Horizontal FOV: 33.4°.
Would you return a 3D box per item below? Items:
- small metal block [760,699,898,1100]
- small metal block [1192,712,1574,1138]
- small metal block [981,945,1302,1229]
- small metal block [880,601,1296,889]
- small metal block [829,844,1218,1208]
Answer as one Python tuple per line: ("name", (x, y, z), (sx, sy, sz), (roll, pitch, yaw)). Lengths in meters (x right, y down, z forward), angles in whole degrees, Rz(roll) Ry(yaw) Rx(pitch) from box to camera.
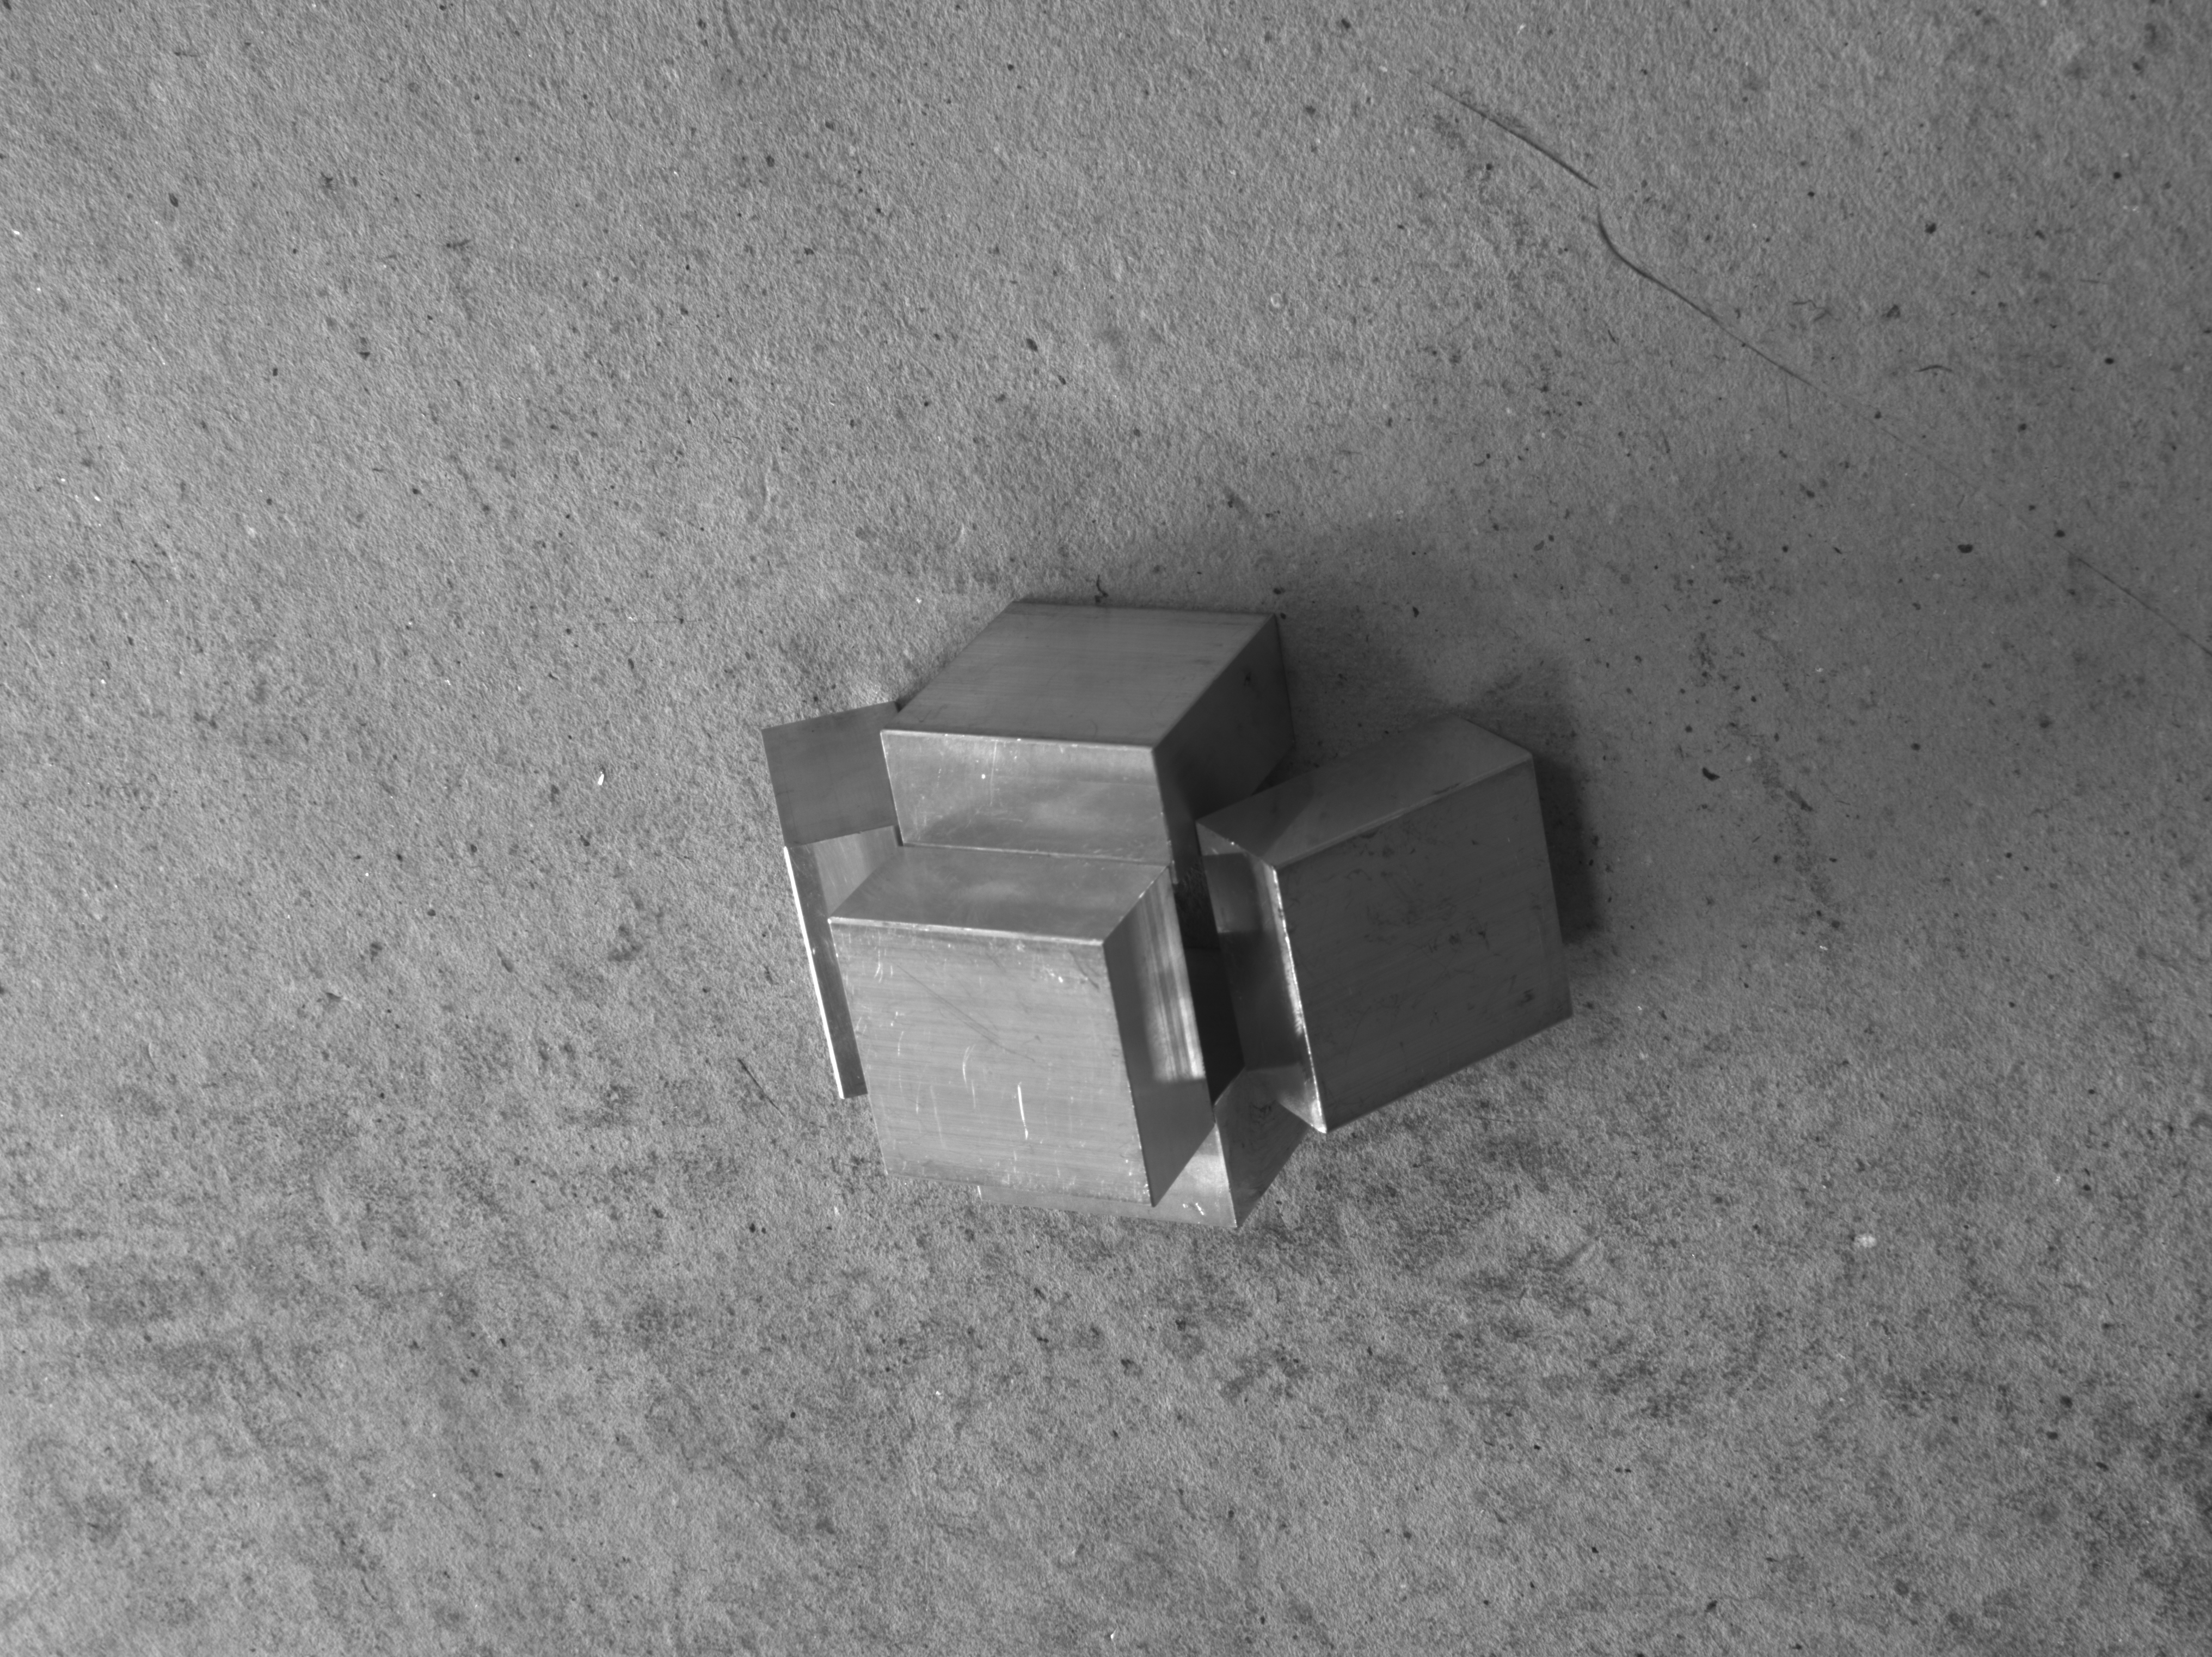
("small metal block", (-0.042, 0.012, 0.654), (0.025, 0.050, 0.050), (-13, 117, -5))
("small metal block", (0.046, 0.015, 0.608), (0.025, 0.050, 0.050), (32, 140, 55))
("small metal block", (0.009, 0.044, 0.649), (0.050, 0.050, 0.025), (3, 120, 27))
("small metal block", (-0.002, -0.015, 0.619), (0.050, 0.050, 0.025), (4, 121, 26))
("small metal block", (-0.013, 0.032, 0.605), (0.050, 0.025, 0.050), (4, 120, 27))
